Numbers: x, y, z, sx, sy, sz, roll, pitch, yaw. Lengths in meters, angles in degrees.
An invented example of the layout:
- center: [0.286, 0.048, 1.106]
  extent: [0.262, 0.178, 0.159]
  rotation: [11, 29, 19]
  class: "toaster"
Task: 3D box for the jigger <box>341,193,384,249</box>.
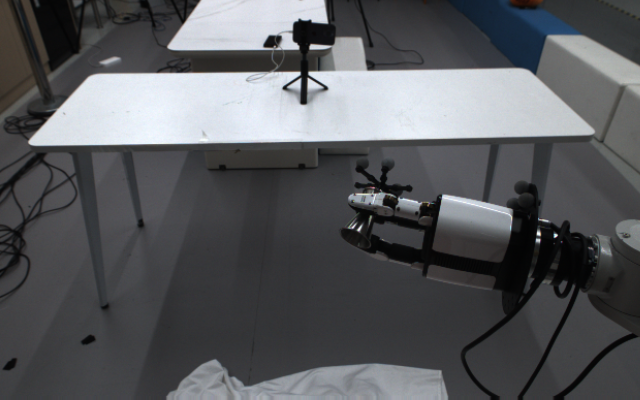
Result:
- center: [0.058, 0.018, 0.614]
  extent: [0.043, 0.043, 0.071]
  rotation: [19, 61, 23]
  class: "jigger"
